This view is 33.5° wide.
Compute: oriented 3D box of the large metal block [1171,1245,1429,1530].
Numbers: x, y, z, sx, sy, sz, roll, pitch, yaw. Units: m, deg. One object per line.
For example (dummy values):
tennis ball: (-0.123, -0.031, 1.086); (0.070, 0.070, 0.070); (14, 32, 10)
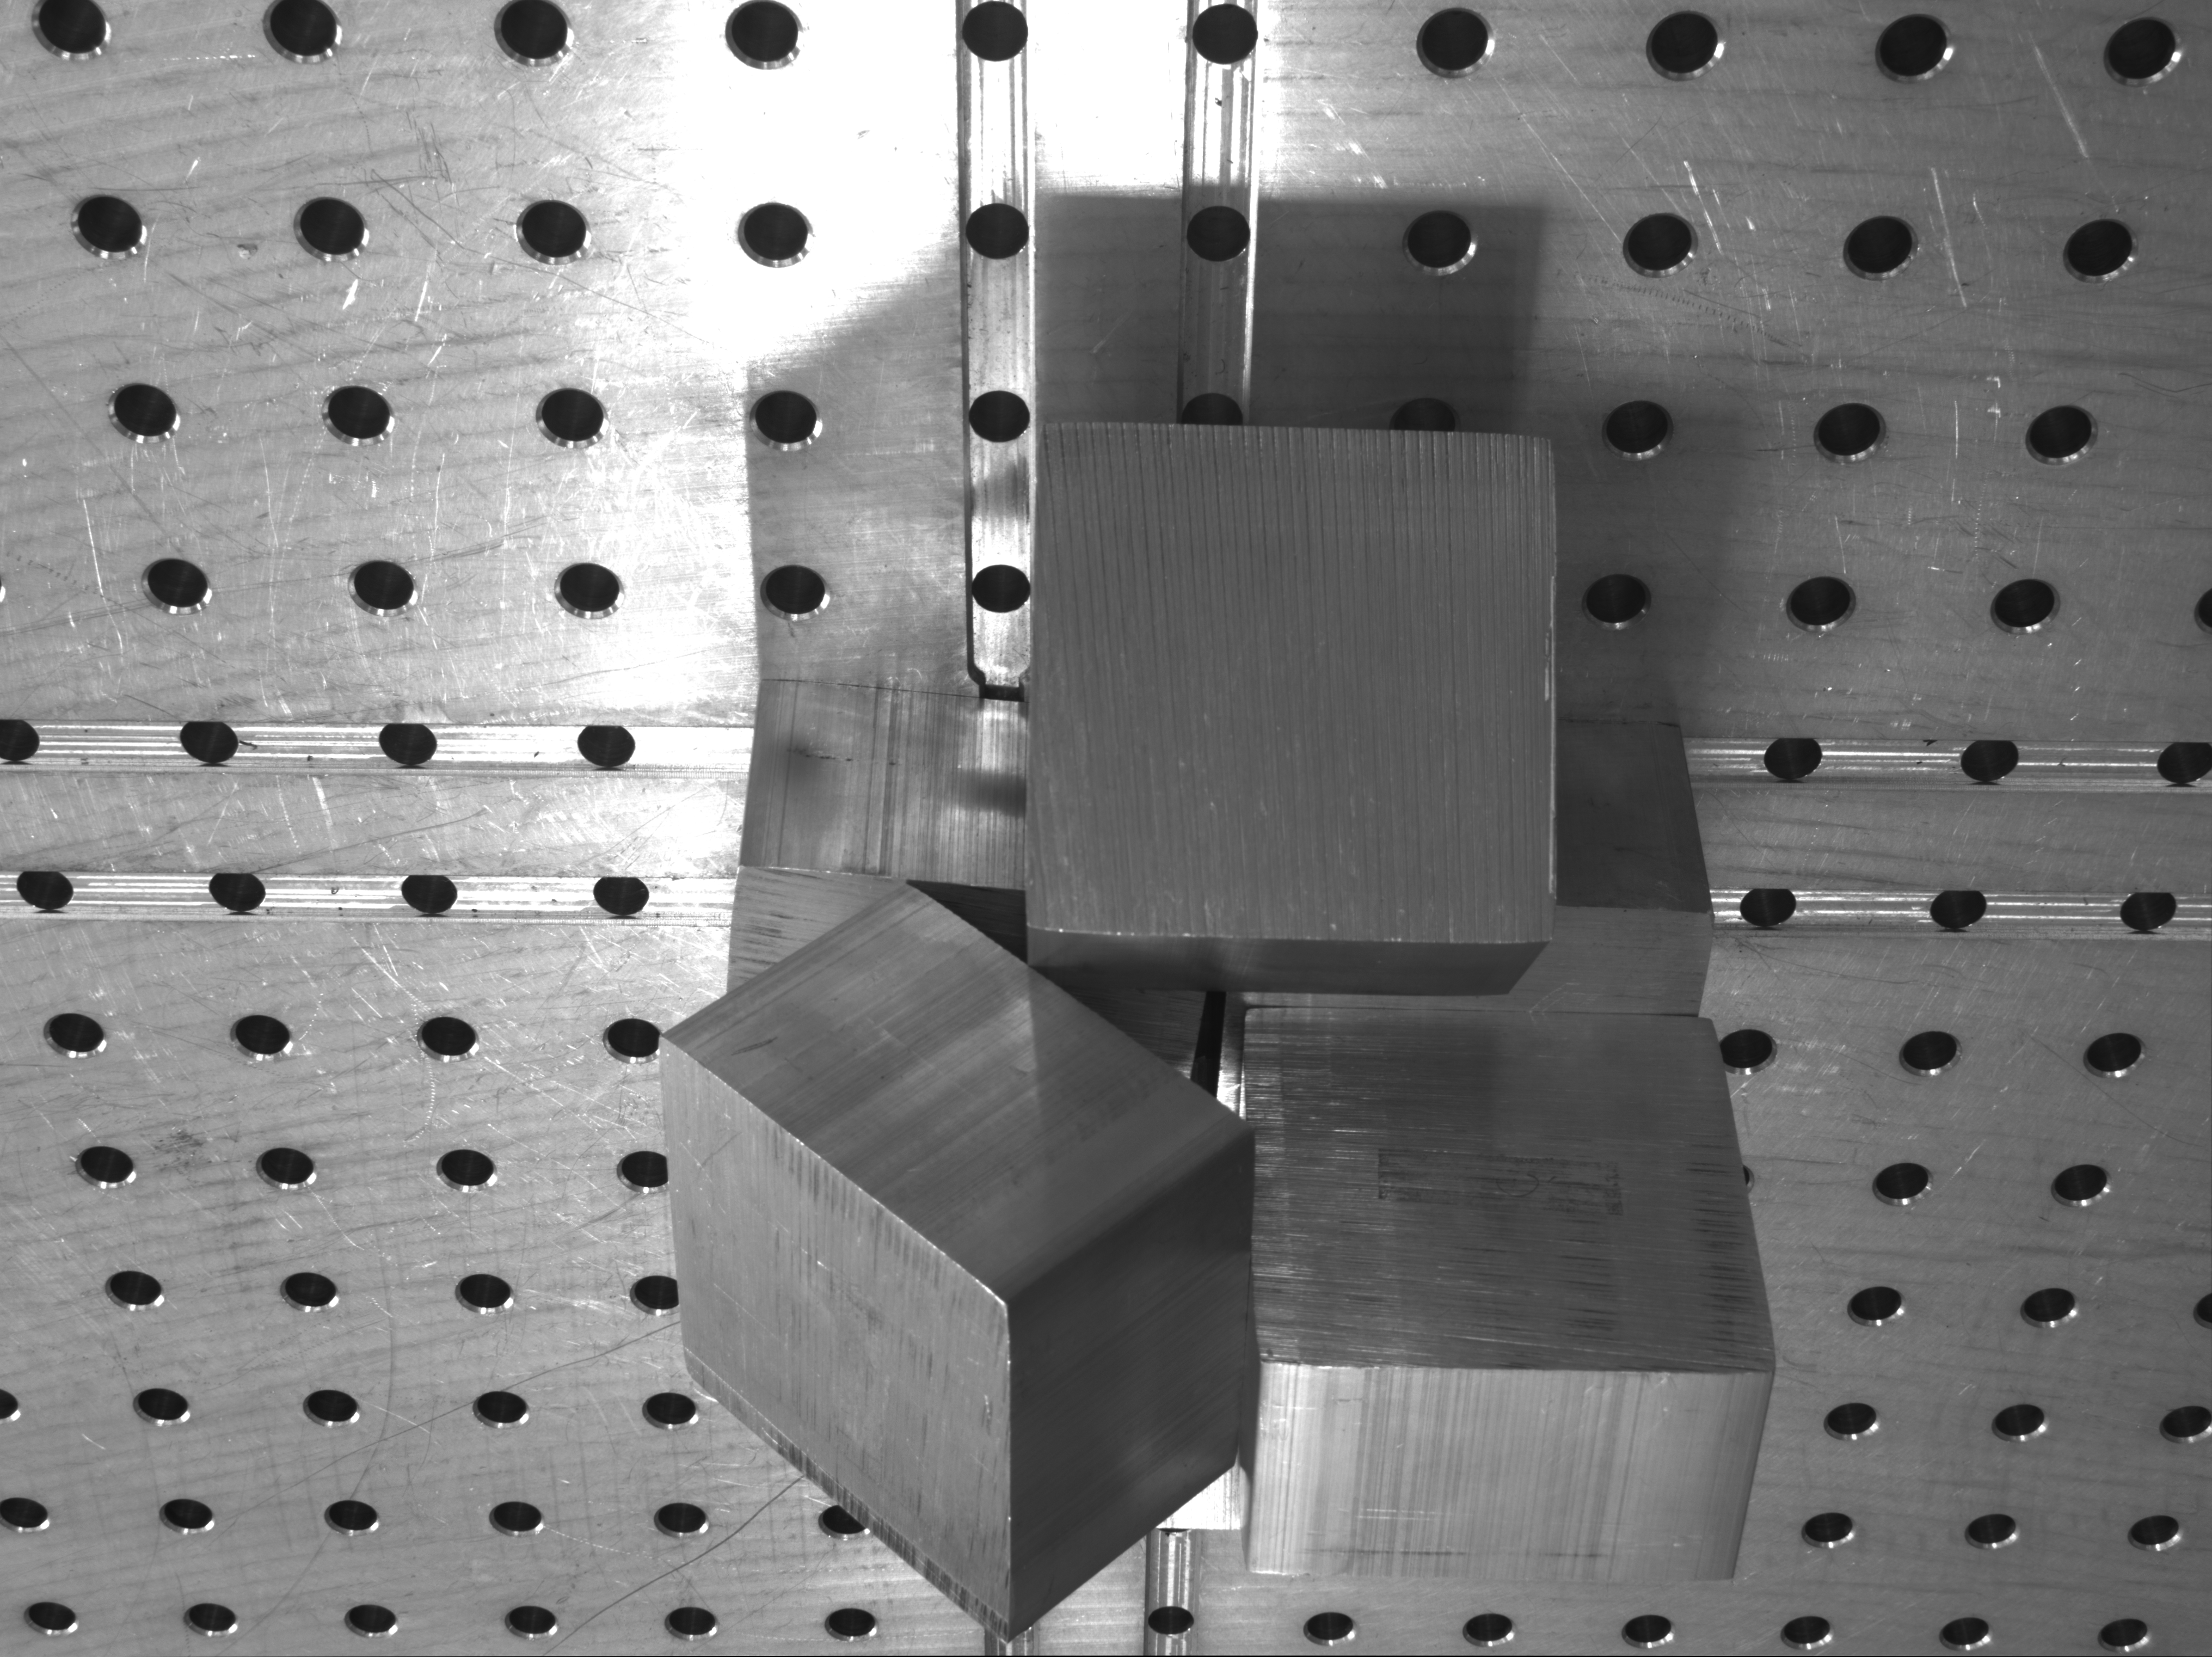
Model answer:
large metal block: (0.019, 0.102, 0.685); (0.080, 0.050, 0.080); (2, 174, -1)

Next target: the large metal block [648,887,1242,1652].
large metal block: (-0.026, 0.070, 0.590); (0.080, 0.050, 0.080); (33, 140, 32)

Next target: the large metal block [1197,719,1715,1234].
large metal block: (0.059, 0.027, 0.649); (0.080, 0.050, 0.080); (2, 130, -2)

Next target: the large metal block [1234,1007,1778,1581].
large metal block: (0.062, 0.076, 0.605); (0.080, 0.080, 0.050); (1, 130, -1)

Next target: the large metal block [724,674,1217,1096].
large metal block: (-0.026, 0.023, 0.646); (0.080, 0.050, 0.080); (5, 130, -4)

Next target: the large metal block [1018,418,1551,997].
large metal block: (0.027, -0.018, 0.583); (0.080, 0.080, 0.050); (2, 168, -1)
